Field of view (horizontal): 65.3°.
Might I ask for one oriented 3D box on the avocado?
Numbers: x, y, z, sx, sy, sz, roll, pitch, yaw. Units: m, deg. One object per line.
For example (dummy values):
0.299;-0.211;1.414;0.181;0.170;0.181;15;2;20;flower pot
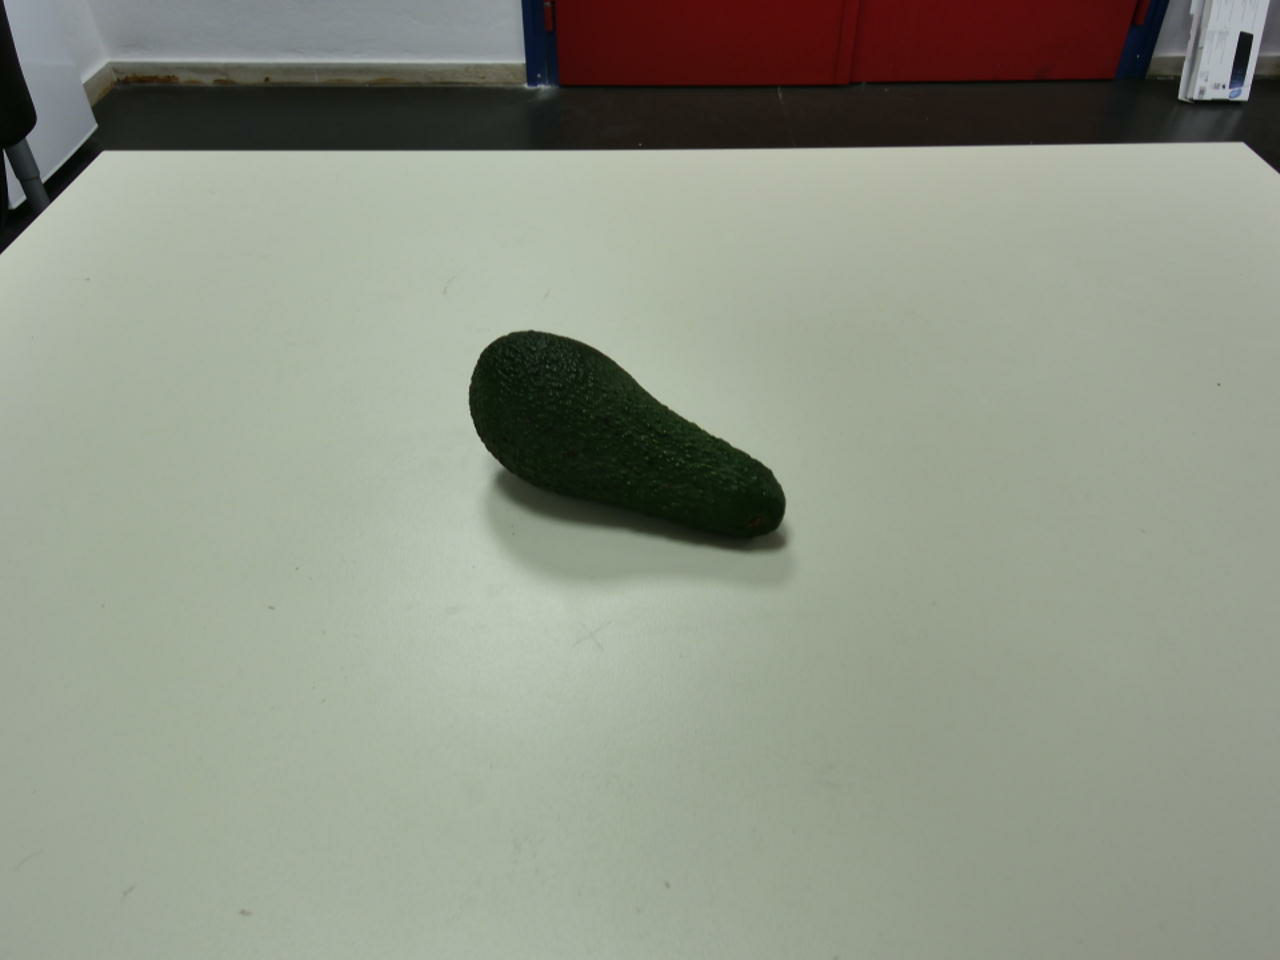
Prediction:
-0.006;-0.024;0.415;0.141;0.067;0.063;9;40;12;avocado
